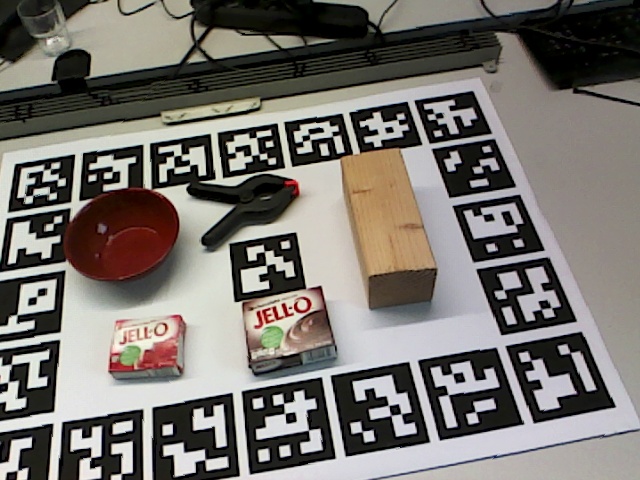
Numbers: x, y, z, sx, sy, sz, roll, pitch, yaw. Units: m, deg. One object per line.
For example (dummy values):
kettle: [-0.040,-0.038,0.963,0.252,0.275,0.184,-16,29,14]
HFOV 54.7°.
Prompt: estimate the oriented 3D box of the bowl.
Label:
bowl: [-0.285,0.004,0.910,0.162,0.055,0.162,-1,58,2]

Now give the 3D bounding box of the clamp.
clamp: [-0.132,-0.052,0.948,0.165,0.036,0.122,-18,56,-10]

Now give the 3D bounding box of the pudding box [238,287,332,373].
pudding box: [-0.047,0.118,0.815,0.114,0.038,0.090,-12,60,0]

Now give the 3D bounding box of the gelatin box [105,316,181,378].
gelatin box: [-0.232,0.141,0.818,0.089,0.030,0.073,-3,57,2]

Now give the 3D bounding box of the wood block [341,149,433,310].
wood block: [0.089,-0.018,0.864,0.090,0.090,0.207,-7,56,-2]
